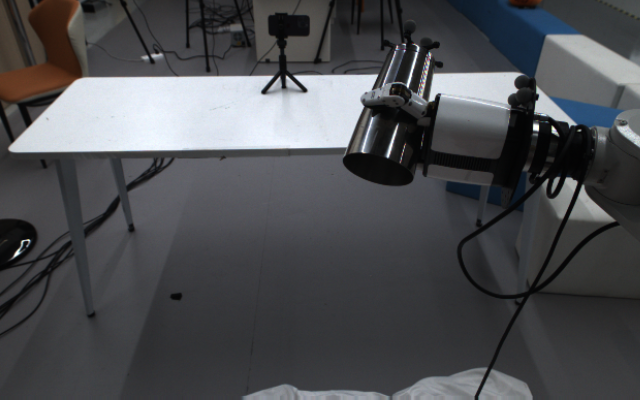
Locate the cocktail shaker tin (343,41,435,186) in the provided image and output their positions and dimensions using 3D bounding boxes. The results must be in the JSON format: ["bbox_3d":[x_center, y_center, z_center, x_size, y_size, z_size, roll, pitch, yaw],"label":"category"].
[{"bbox_3d":[0.099,-0.113,0.630,0.093,0.093,0.170,14,73,16],"label":"cocktail shaker tin"}]
